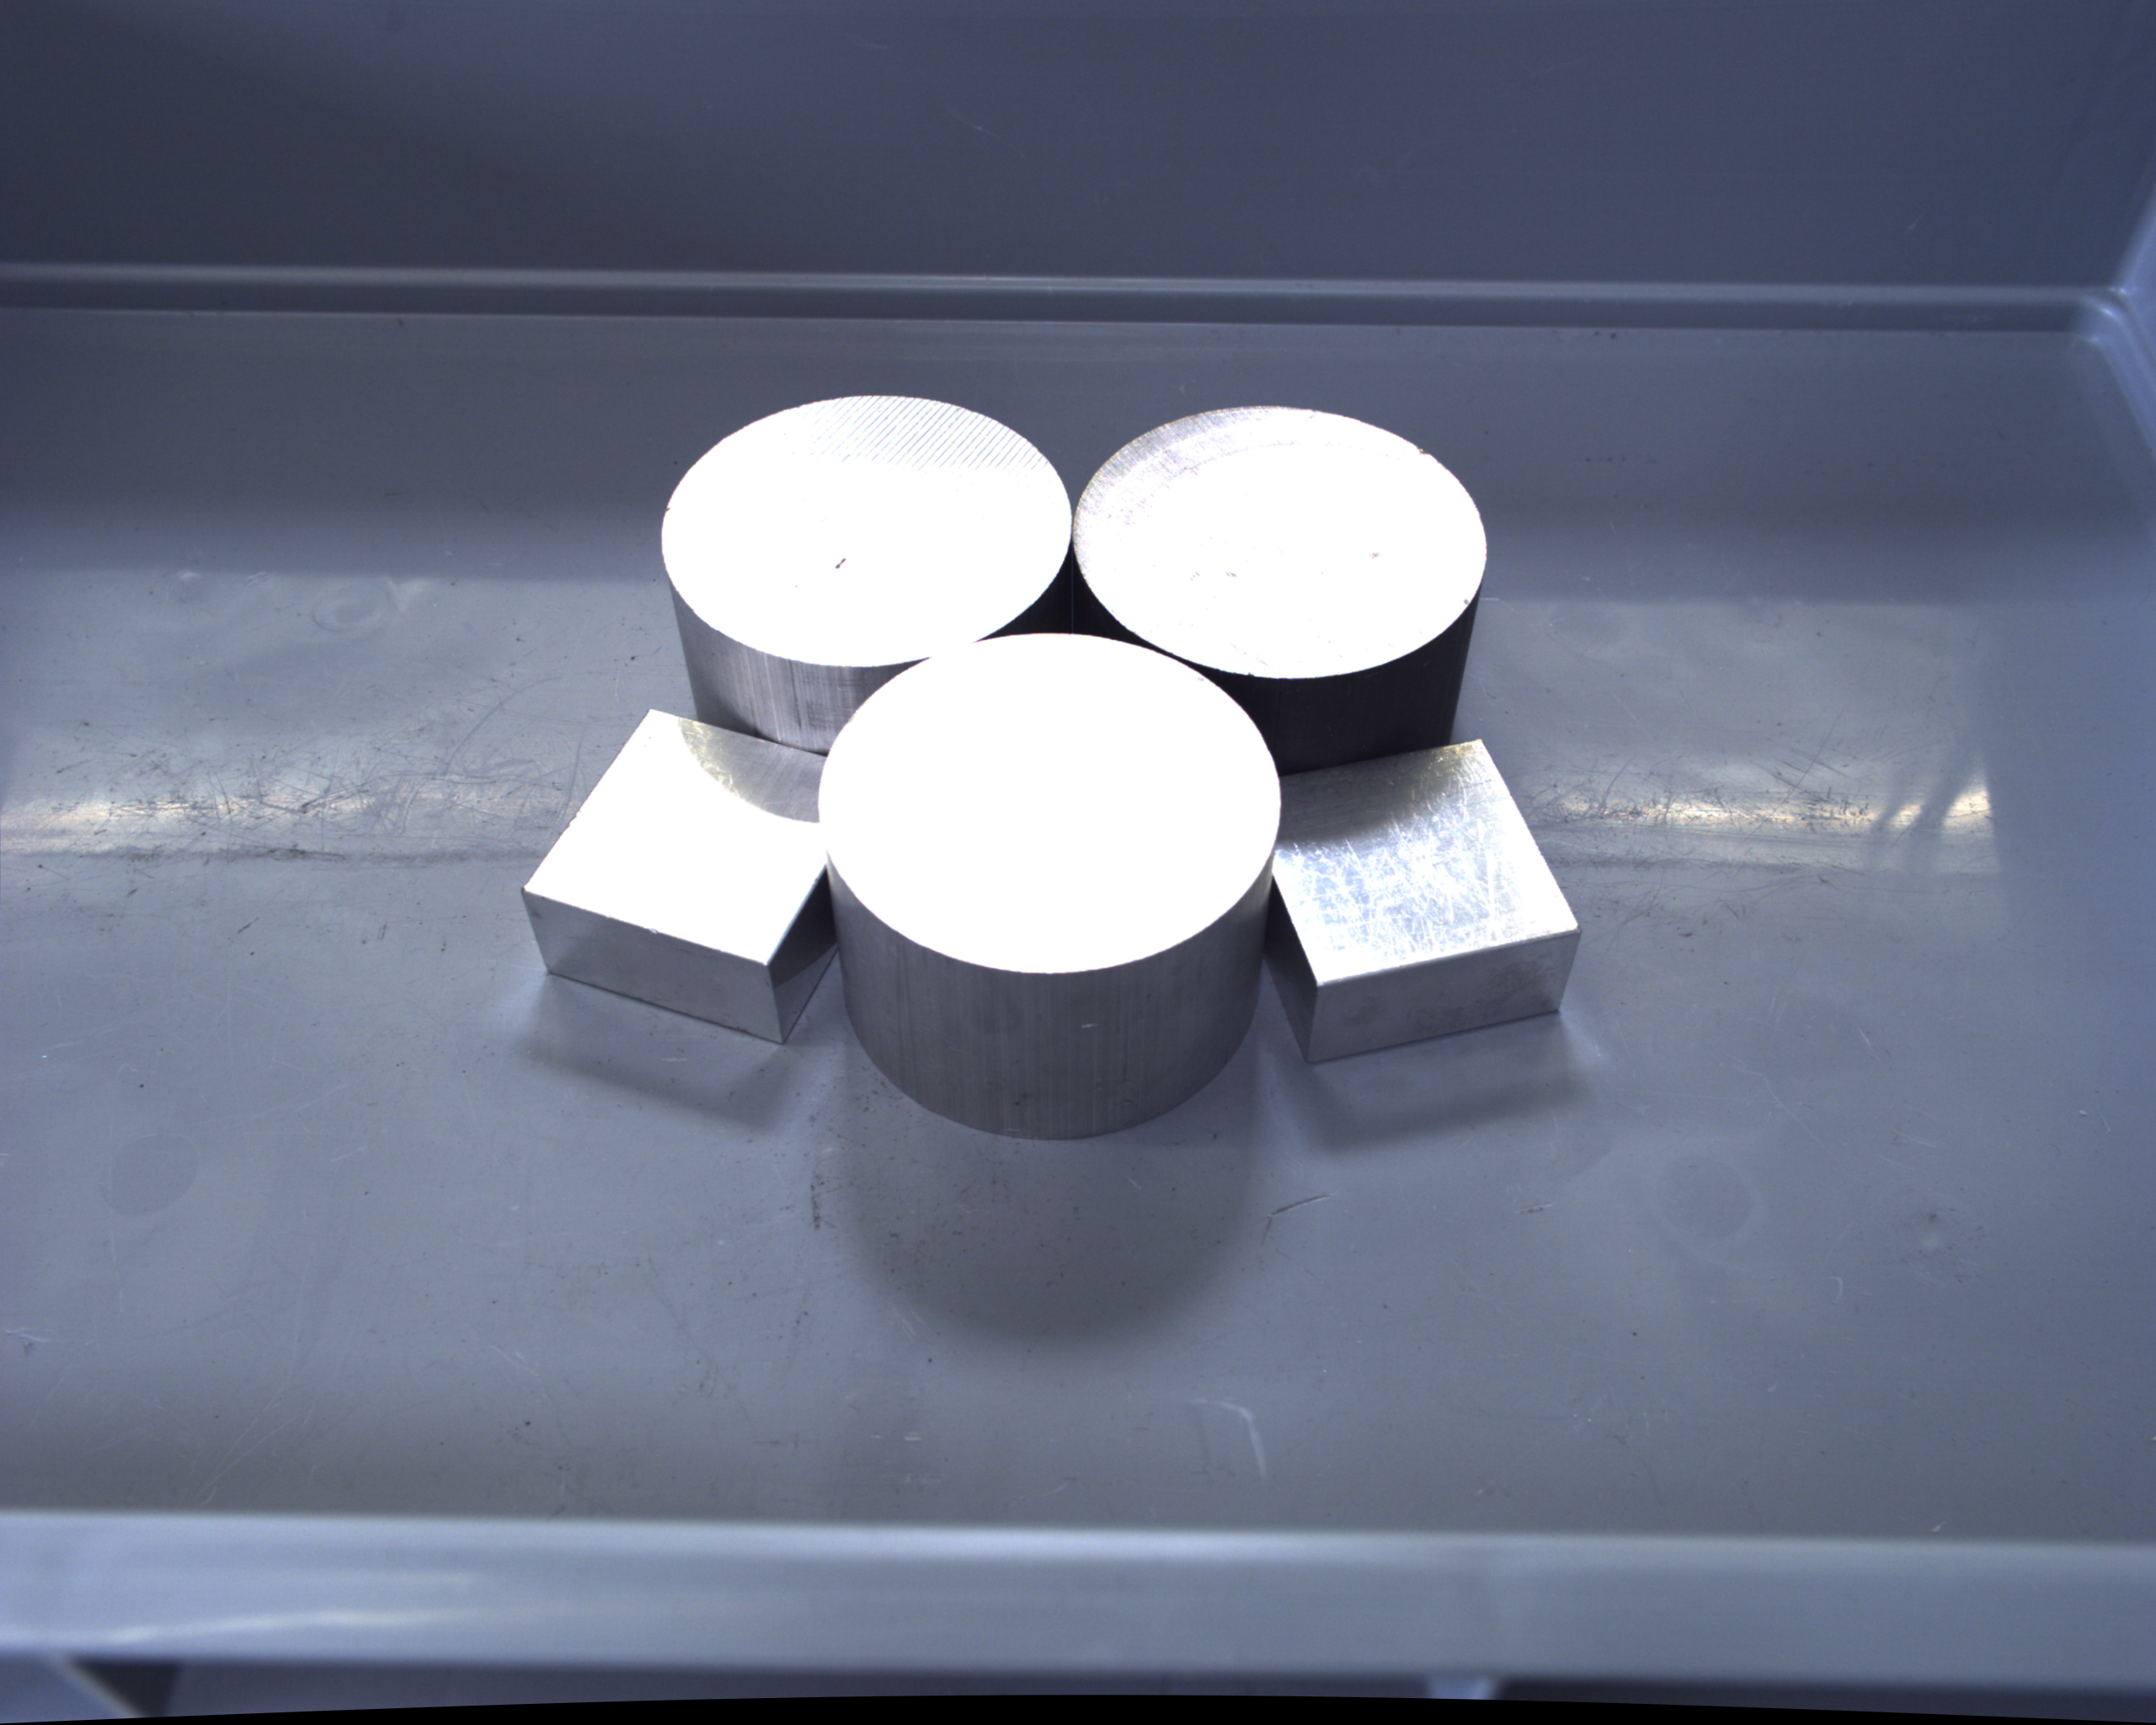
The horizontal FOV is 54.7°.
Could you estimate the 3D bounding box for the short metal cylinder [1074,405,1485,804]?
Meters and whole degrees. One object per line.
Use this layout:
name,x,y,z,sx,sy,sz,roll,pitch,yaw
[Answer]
short metal cylinder,0.039,-0.049,0.428,0.081,0.050,0.080,0,50,0

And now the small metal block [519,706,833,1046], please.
small metal block,-0.070,0.002,0.401,0.050,0.025,0.050,16,52,13

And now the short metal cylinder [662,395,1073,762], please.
short metal cylinder,-0.041,-0.051,0.429,0.081,0.050,0.080,0,50,0

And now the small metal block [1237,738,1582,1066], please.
small metal block,0.061,0.007,0.398,0.050,0.025,0.050,-11,51,-9

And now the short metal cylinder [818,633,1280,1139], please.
short metal cylinder,-0.005,0.003,0.384,0.081,0.050,0.080,0,50,0
